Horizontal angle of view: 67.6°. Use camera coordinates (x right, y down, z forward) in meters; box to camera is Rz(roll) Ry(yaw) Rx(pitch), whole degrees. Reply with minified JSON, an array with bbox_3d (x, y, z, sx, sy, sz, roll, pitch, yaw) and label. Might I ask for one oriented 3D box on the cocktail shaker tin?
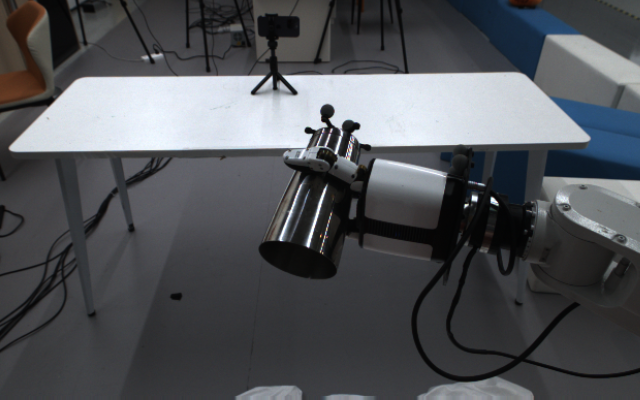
[{"bbox_3d":[-0.001,-0.002,0.577,0.093,0.093,0.170,11,60,12],"label":"cocktail shaker tin"}]
